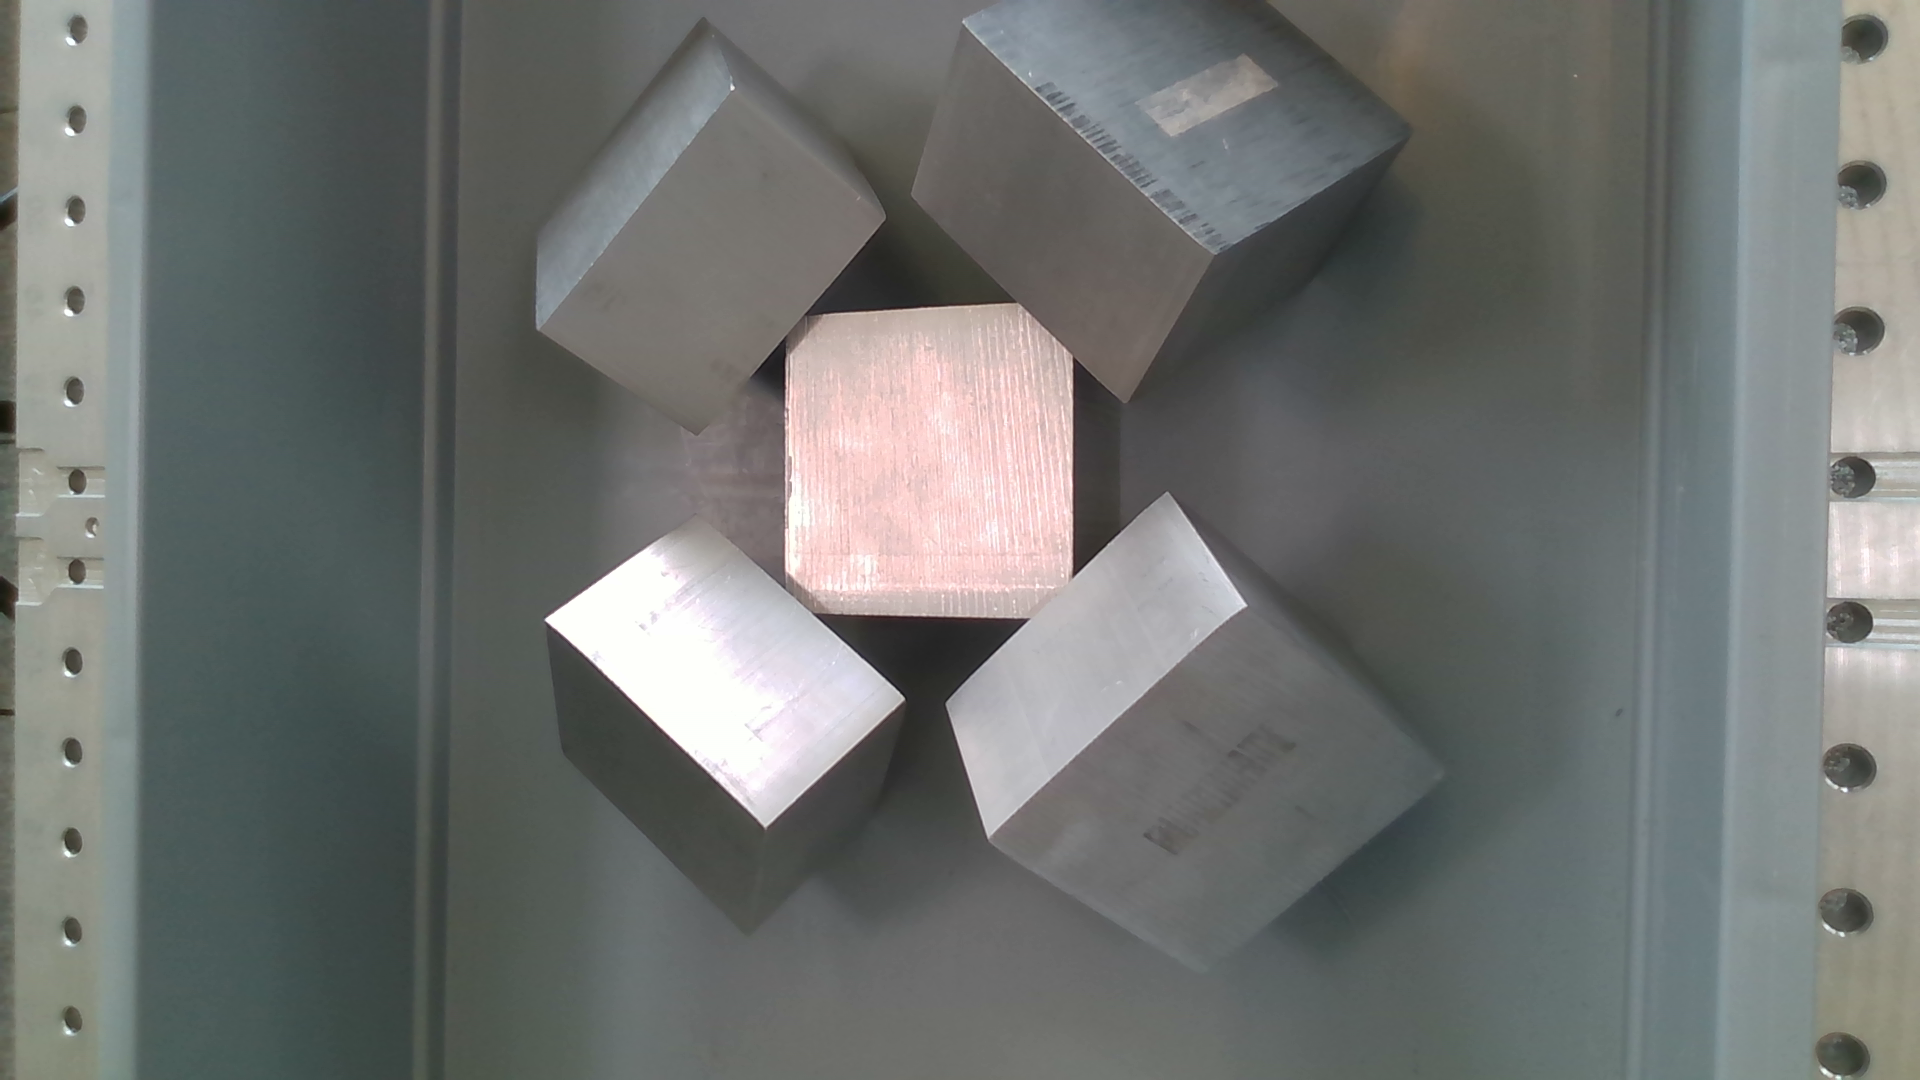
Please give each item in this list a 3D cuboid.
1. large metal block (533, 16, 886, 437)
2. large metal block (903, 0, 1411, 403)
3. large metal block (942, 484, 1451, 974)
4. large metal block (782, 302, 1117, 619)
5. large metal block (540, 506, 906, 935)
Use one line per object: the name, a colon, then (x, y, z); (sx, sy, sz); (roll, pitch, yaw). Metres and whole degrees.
large metal block: (-0.073, -0.089, 0.384); (0.080, 0.050, 0.080); (-46, 32, 15)
large metal block: (0.046, -0.093, 0.337); (0.080, 0.080, 0.050); (46, 148, 14)
large metal block: (0.056, 0.048, 0.337); (0.080, 0.050, 0.080); (37, 106, -28)
large metal block: (-0.001, -0.020, 0.379); (0.080, 0.050, 0.080); (1, 91, 20)
large metal block: (-0.067, 0.051, 0.381); (0.080, 0.050, 0.080); (40, 148, 15)
